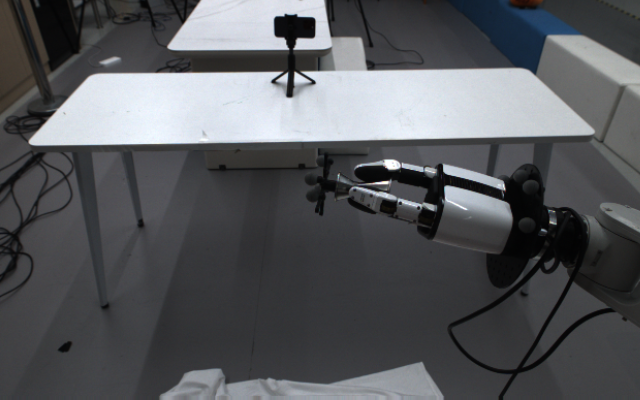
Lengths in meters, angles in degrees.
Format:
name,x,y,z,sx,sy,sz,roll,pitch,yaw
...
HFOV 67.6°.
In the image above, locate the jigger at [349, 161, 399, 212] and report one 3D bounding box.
name,x,y,z,sx,sy,sz,roll,pitch,yaw
jigger,0.062,-0.018,0.624,0.071,0.043,0.043,8,35,8
